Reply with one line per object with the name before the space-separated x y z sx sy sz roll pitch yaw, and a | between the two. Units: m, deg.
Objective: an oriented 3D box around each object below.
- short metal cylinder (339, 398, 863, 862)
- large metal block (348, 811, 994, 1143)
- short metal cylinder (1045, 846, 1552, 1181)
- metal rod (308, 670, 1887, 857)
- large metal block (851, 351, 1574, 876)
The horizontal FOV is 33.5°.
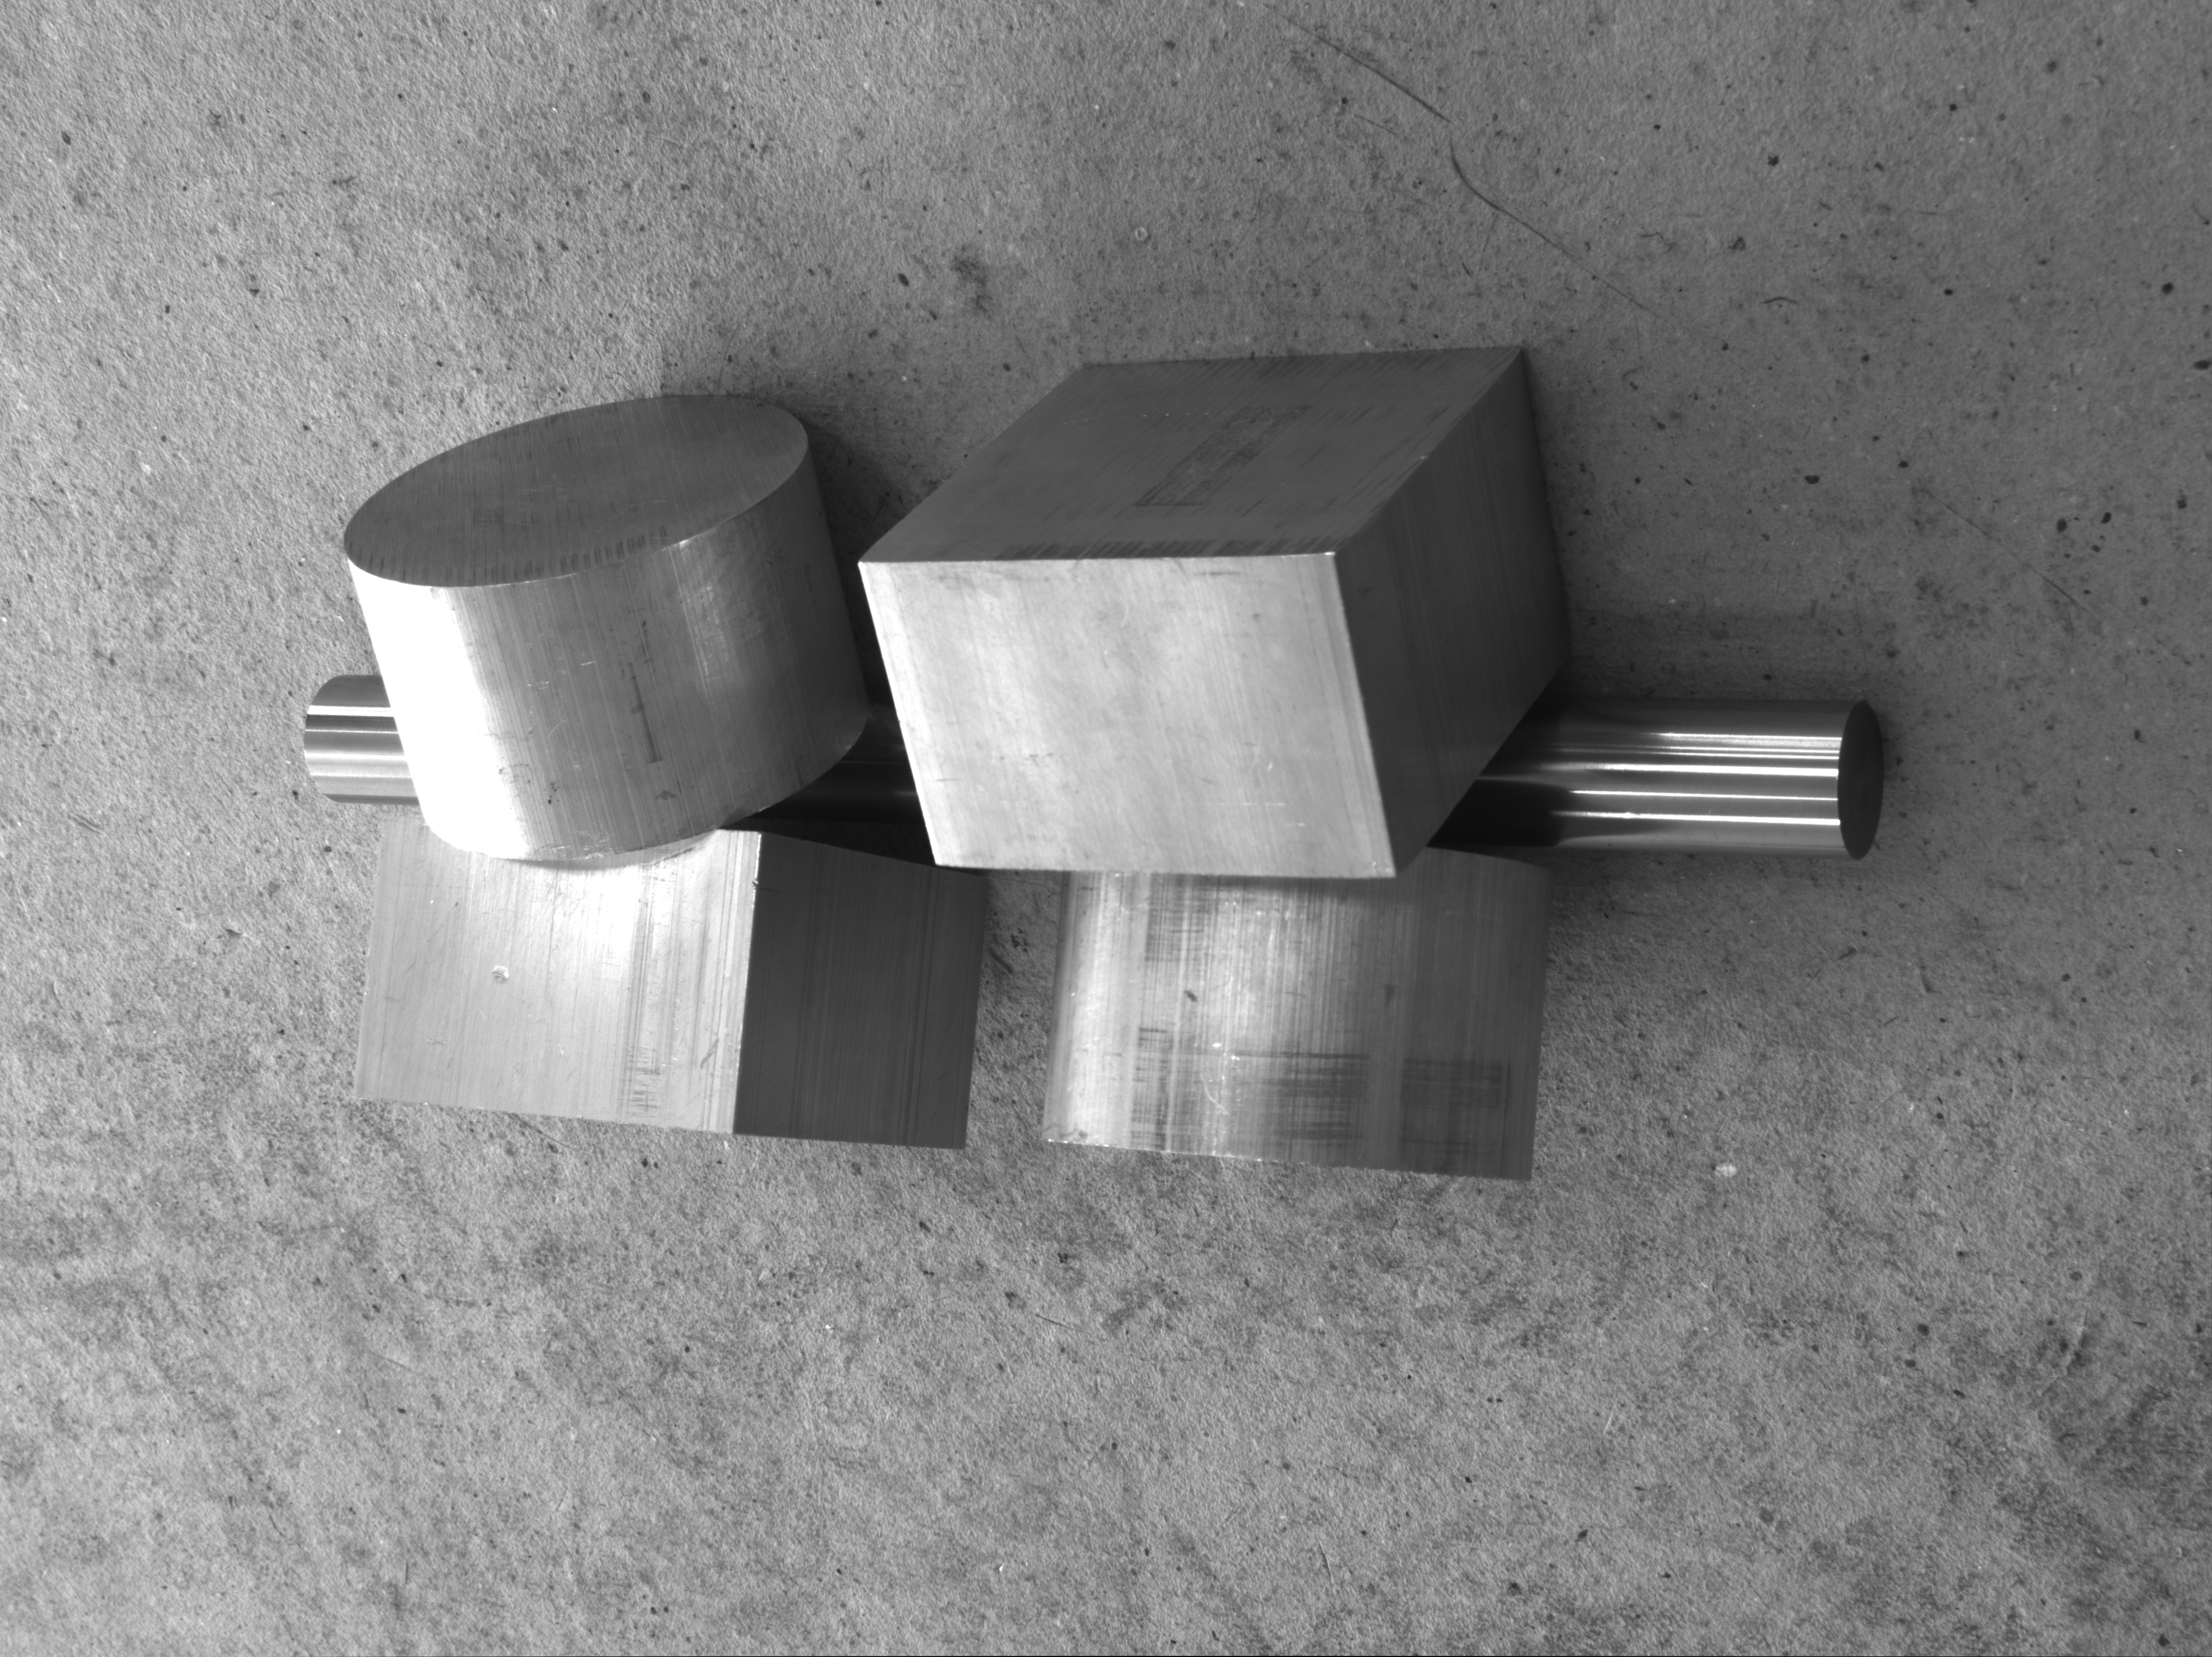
short metal cylinder | -0.086 -0.035 0.632 0.080 0.080 0.050 3 120 27
large metal block | -0.076 0.027 0.657 0.080 0.080 0.050 2 85 27
short metal cylinder | 0.031 0.030 0.601 0.080 0.080 0.050 2 84 28
metal rod | -0.014 -0.013 0.645 0.299 0.025 0.025 2 119 27
large metal block | 0.019 -0.035 0.575 0.080 0.080 0.050 1 119 28
